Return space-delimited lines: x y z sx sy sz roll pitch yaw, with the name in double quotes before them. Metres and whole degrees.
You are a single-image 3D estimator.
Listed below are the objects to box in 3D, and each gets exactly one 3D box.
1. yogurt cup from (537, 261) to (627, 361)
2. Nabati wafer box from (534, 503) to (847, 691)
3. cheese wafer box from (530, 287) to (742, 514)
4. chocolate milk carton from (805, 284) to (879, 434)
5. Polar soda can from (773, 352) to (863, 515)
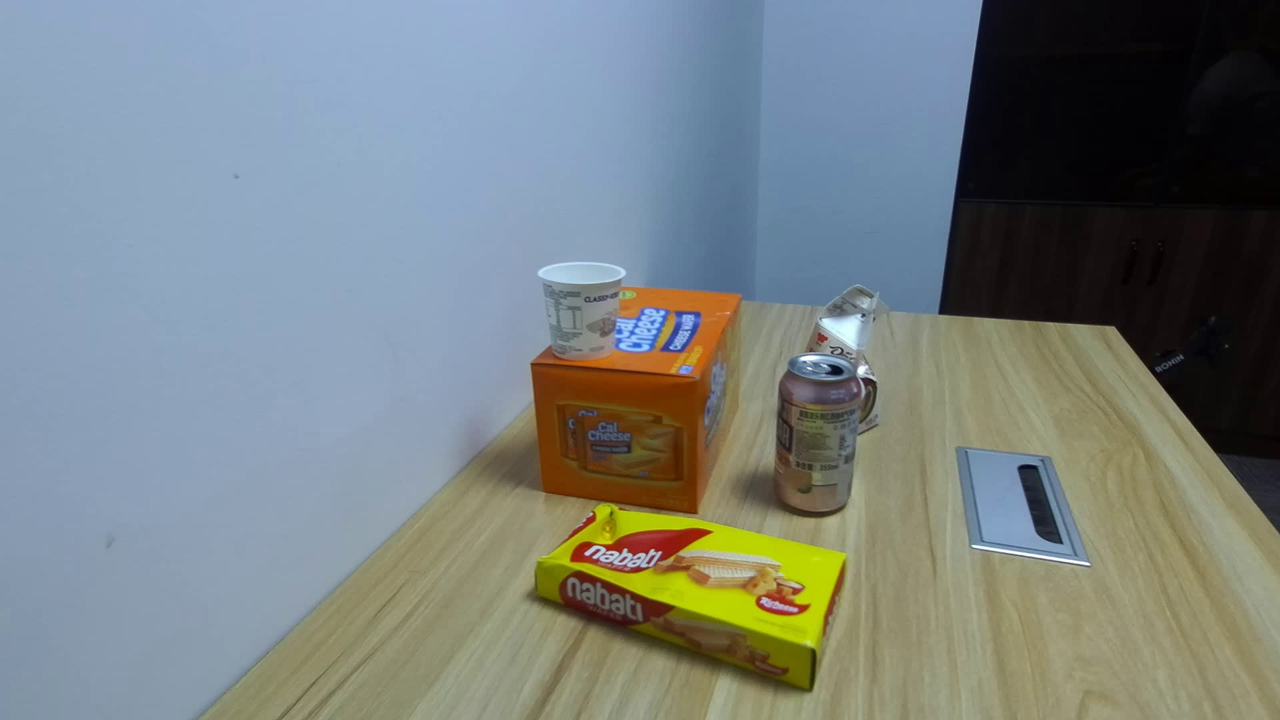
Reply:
"yogurt cup" -0.048 -0.040 0.591 0.072 0.068 0.072 0 21 0
"Nabati wafer box" 0.034 0.151 0.492 0.202 0.042 0.097 9 27 27
"cheese wafer box" 0.009 0.025 0.683 0.148 0.129 0.222 6 24 15
"chocolate milk carton" 0.206 -0.001 0.709 0.090 0.155 0.076 -3 22 -44
"Polar soda can" 0.147 0.061 0.590 0.067 0.125 0.067 -2 22 1
